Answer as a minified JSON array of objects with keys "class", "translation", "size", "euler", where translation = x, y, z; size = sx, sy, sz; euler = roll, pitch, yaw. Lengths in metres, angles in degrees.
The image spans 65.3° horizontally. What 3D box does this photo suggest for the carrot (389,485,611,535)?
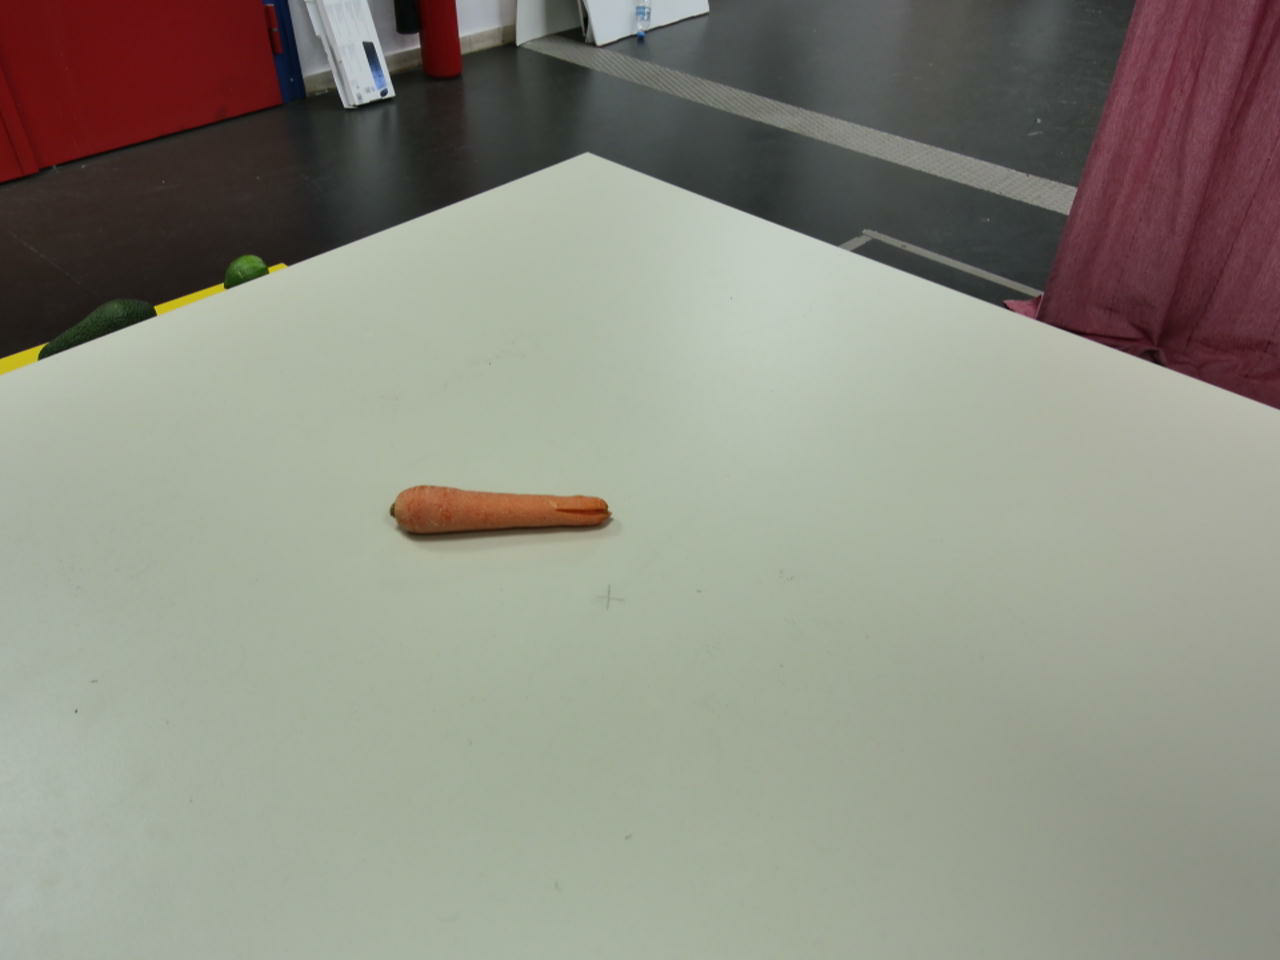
[{"class":"carrot","translation":[-0.085,0.017,0.620],"size":[0.136,0.032,0.030],"euler":[-1,38,-3]}]
